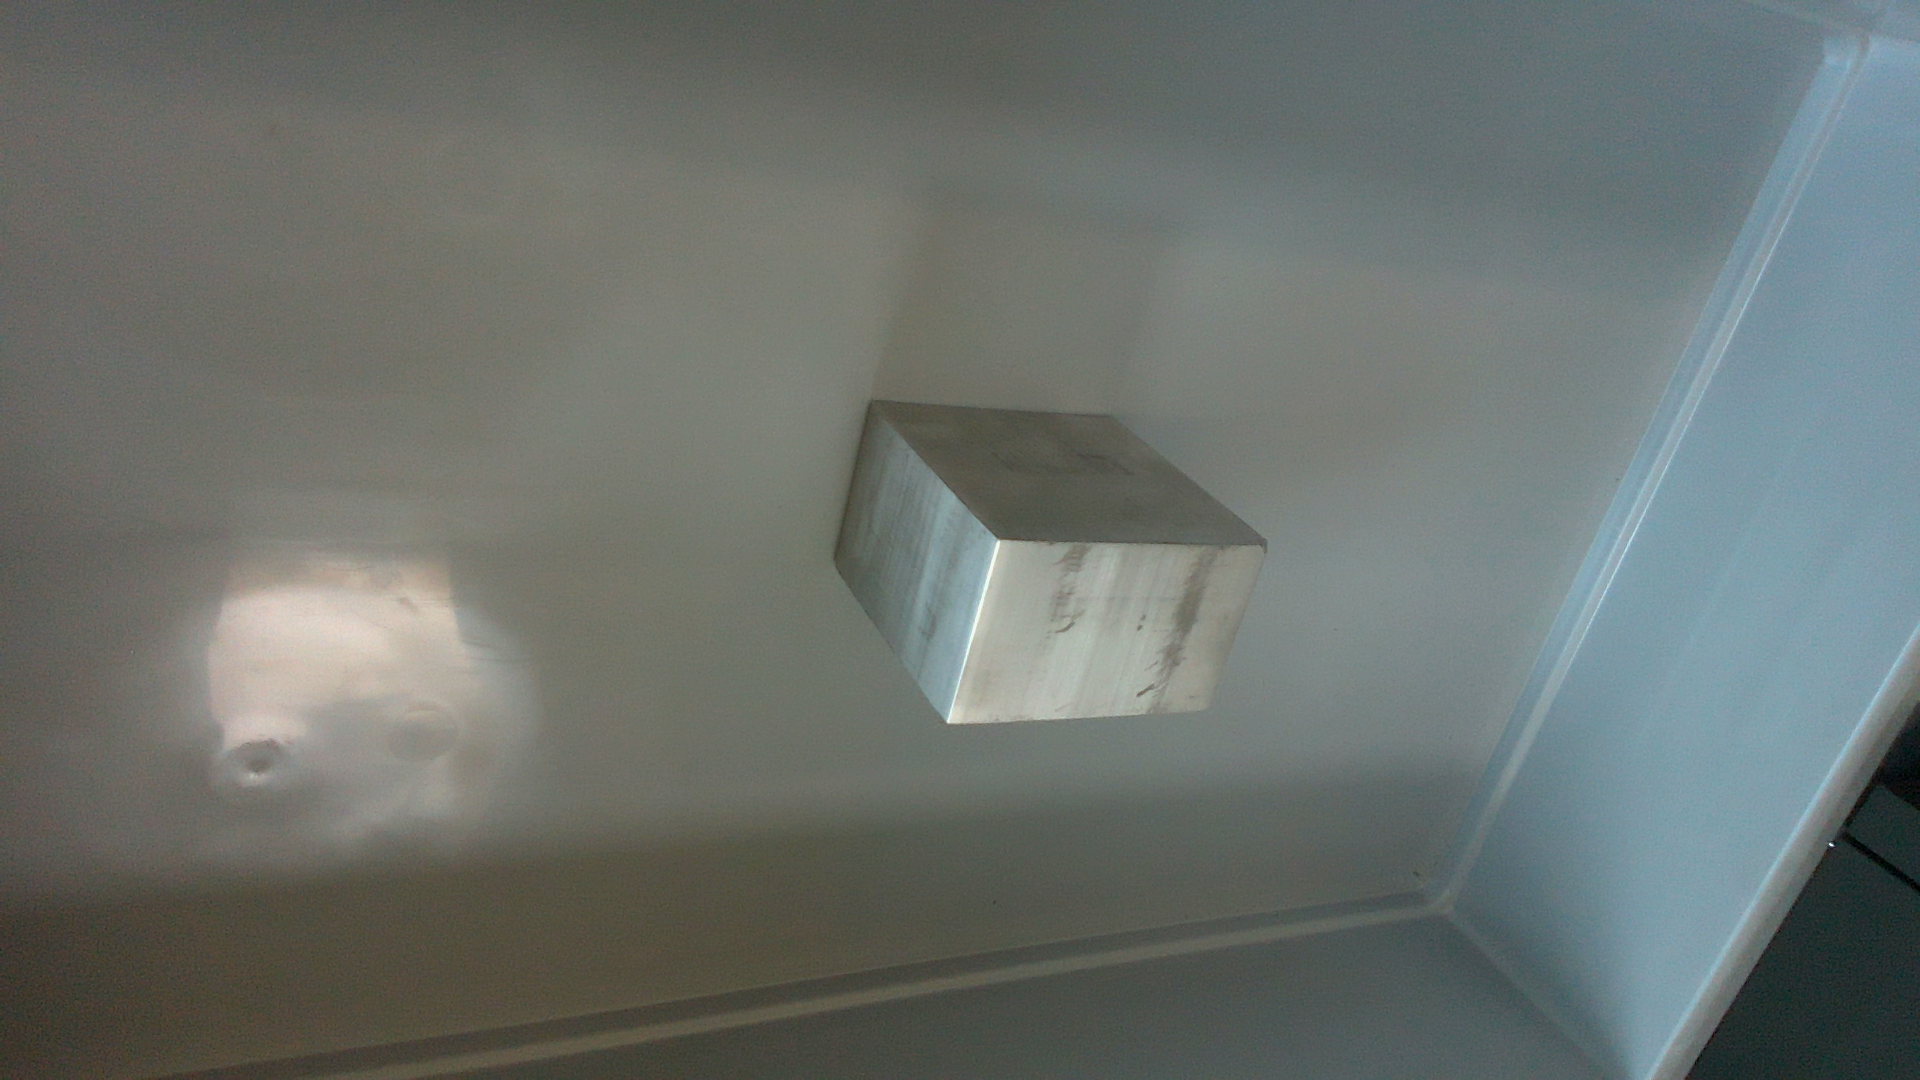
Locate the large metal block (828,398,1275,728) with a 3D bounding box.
[{"bbox_3d":[0.021,0.004,0.365,0.080,0.080,0.050,1,118,-29],"label":"large metal block"}]
